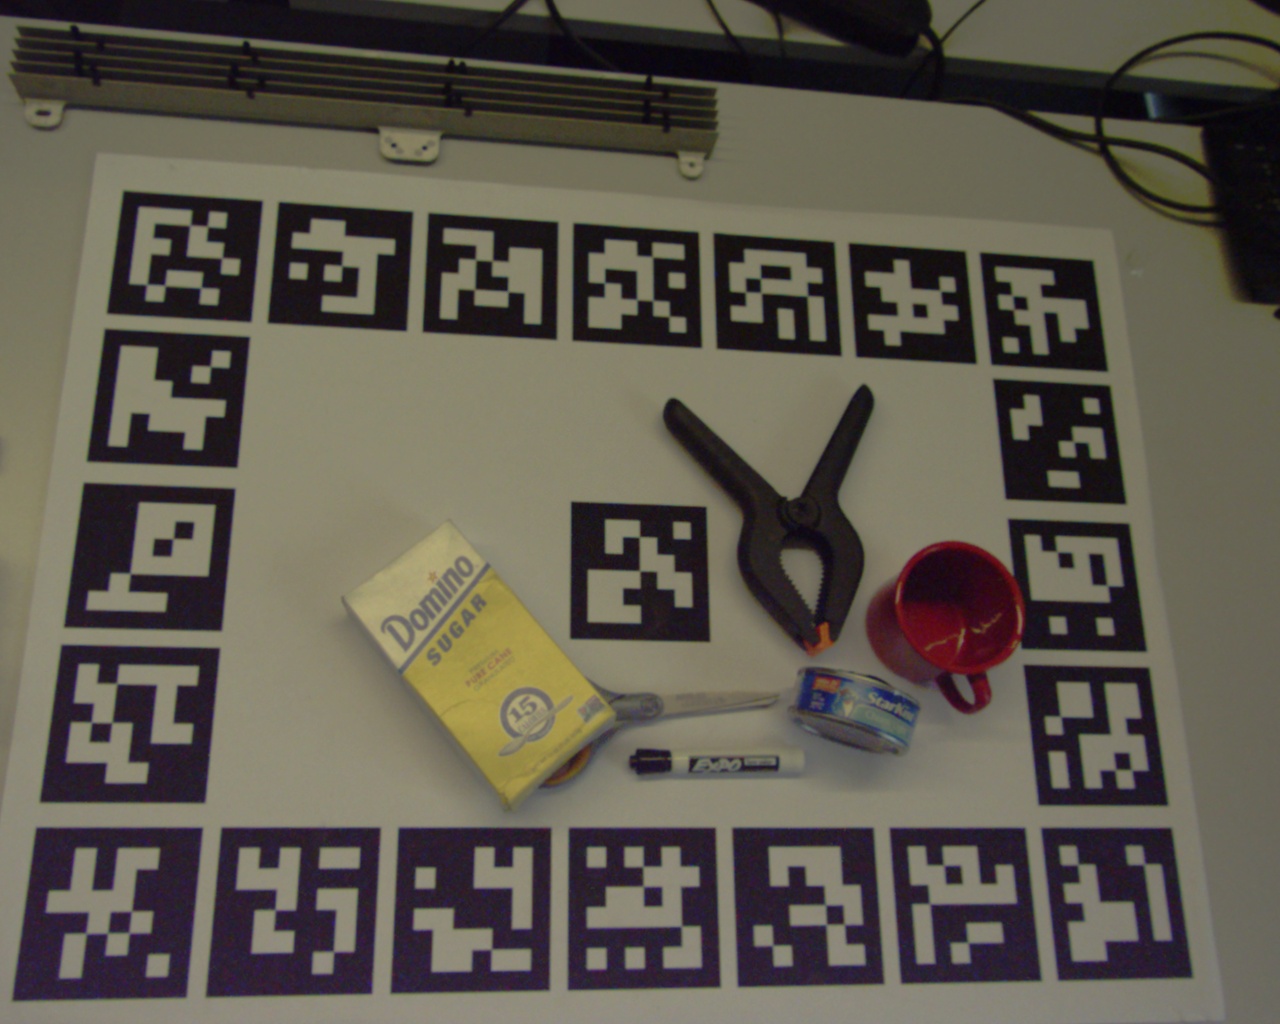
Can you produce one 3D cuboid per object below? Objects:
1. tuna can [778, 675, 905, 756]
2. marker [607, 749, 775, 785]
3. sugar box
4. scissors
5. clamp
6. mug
[{"bbox_3d":[0.142,0.146,0.812,0.085,0.086,0.034,19,72,-4],"label":"tuna can"},{"bbox_3d":[0.037,0.184,0.820,0.120,0.020,0.020,-2,76,-9],"label":"marker"},{"bbox_3d":[-0.111,0.112,0.797,0.092,0.045,0.177,-35,77,-16],"label":"sugar box"},{"bbox_3d":[-0.008,0.141,0.822,0.201,0.016,0.088,-8,72,-13],"label":"scissors"},{"bbox_3d":[0.104,0.014,0.879,0.164,0.037,0.203,-8,77,-11],"label":"clamp"},{"bbox_3d":[0.200,0.097,0.840,0.093,0.081,0.118,-25,77,-15],"label":"mug"}]
